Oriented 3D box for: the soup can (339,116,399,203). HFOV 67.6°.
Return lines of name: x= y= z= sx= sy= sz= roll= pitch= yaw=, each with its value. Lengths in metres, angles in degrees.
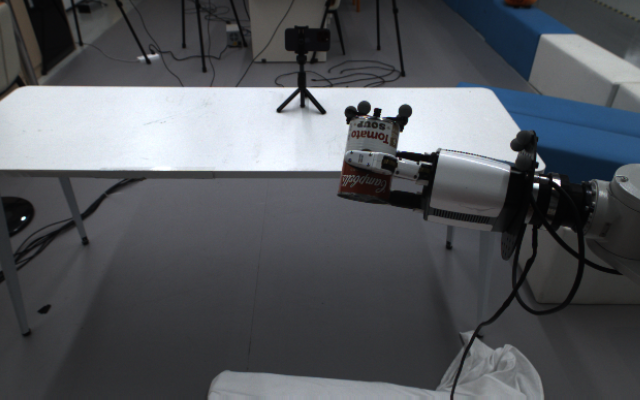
soup can: x=0.064 y=-0.052 z=0.626 sx=0.067 sy=0.101 sz=0.067 roll=9 pitch=-5 yaw=1
